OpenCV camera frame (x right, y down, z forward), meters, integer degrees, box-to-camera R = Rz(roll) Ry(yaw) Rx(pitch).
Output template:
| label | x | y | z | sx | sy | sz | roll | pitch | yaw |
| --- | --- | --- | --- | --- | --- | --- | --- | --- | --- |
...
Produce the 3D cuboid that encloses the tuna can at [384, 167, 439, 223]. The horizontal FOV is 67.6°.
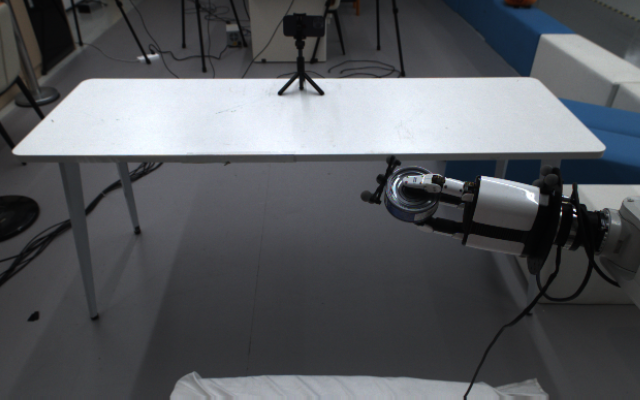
| label | x | y | z | sx | sy | sz | roll | pitch | yaw |
| --- | --- | --- | --- | --- | --- | --- | --- | --- | --- |
| tuna can | 0.145 | -0.010 | 0.750 | 0.085 | 0.034 | 0.085 | 0 | 61 | 1 |
